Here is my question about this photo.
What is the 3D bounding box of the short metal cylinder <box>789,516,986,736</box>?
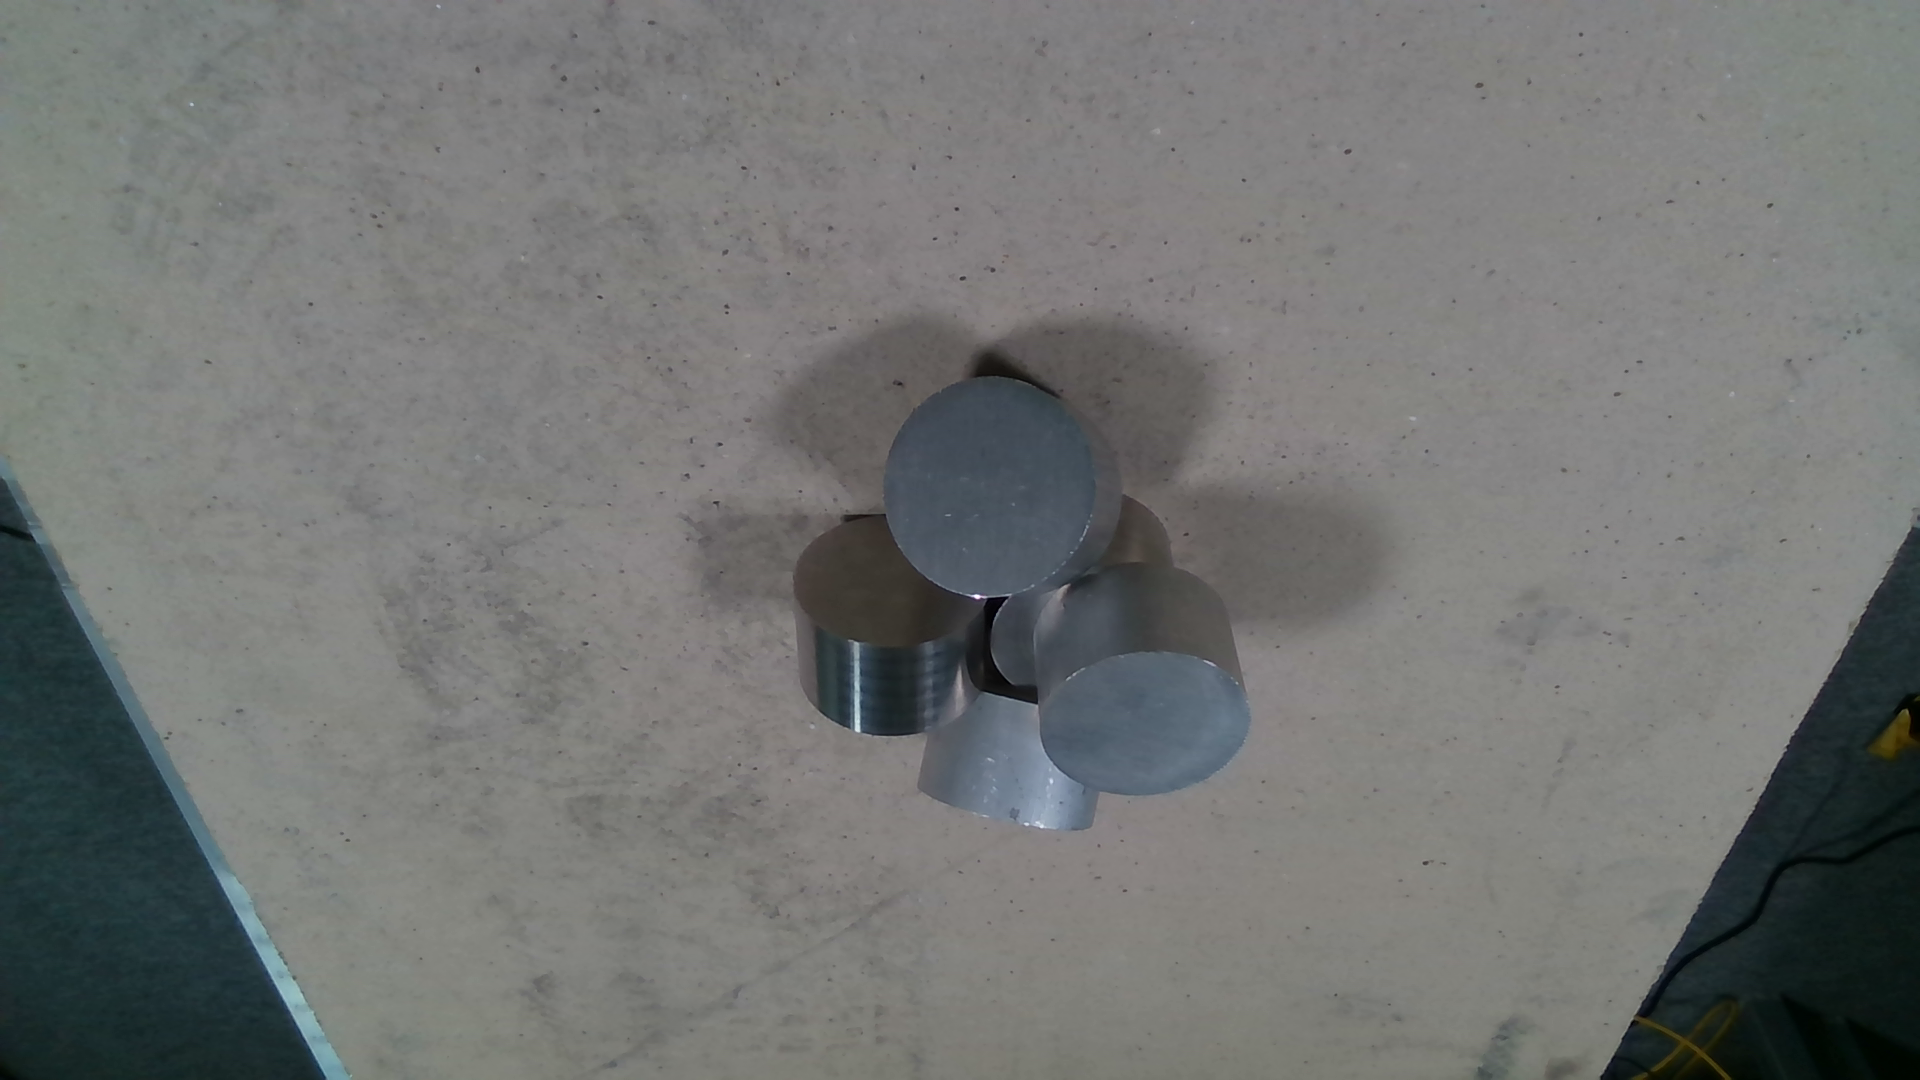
[{"bbox_3d":[-0.029,0.035,0.571,0.080,0.080,0.050,1,130,-1],"label":"short metal cylinder"}]

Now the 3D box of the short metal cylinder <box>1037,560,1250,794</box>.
[{"bbox_3d":[0.070,0.055,0.543,0.080,0.050,0.080,0,130,0],"label":"short metal cylinder"}]

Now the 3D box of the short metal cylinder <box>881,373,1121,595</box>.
[{"bbox_3d":[0.017,-0.020,0.520,0.080,0.050,0.080,0,89,17],"label":"short metal cylinder"}]

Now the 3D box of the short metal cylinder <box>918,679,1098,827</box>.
[{"bbox_3d":[0.025,0.092,0.613,0.080,0.080,0.050,12,90,-10],"label":"short metal cylinder"}]

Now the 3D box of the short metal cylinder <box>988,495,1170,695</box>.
[{"bbox_3d":[0.052,0.024,0.583,0.080,0.050,0.080,0,130,0],"label":"short metal cylinder"}]
